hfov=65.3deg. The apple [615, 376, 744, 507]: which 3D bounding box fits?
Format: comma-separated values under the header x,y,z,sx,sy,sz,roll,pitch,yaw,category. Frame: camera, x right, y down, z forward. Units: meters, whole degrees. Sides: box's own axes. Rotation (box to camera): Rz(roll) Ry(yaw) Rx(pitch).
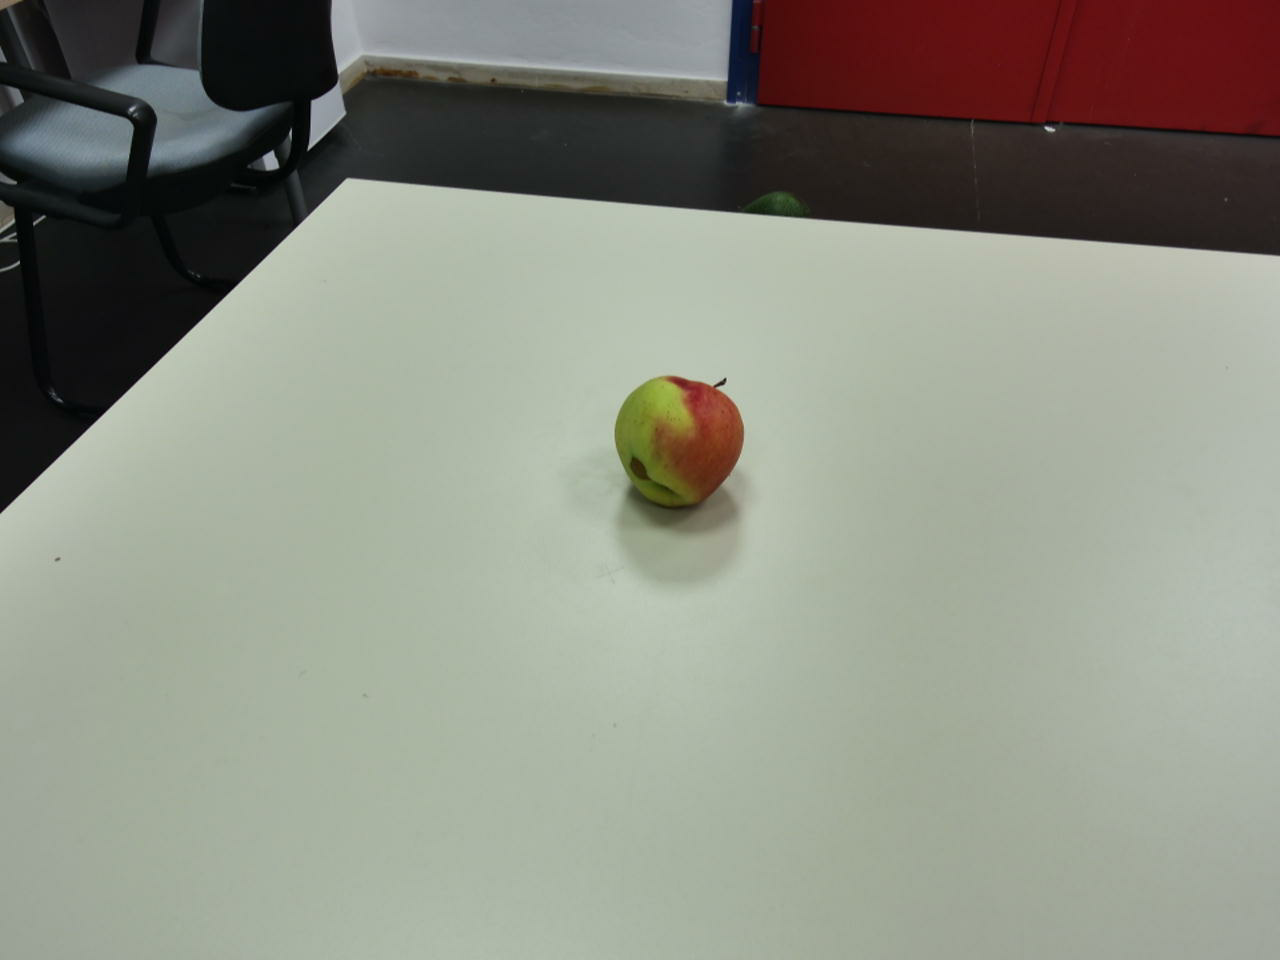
x,y,z,sx,sy,sz,roll,pitch,yaw,category
0.023,-0.023,0.578,0.075,0.074,0.075,-4,39,-5,apple
